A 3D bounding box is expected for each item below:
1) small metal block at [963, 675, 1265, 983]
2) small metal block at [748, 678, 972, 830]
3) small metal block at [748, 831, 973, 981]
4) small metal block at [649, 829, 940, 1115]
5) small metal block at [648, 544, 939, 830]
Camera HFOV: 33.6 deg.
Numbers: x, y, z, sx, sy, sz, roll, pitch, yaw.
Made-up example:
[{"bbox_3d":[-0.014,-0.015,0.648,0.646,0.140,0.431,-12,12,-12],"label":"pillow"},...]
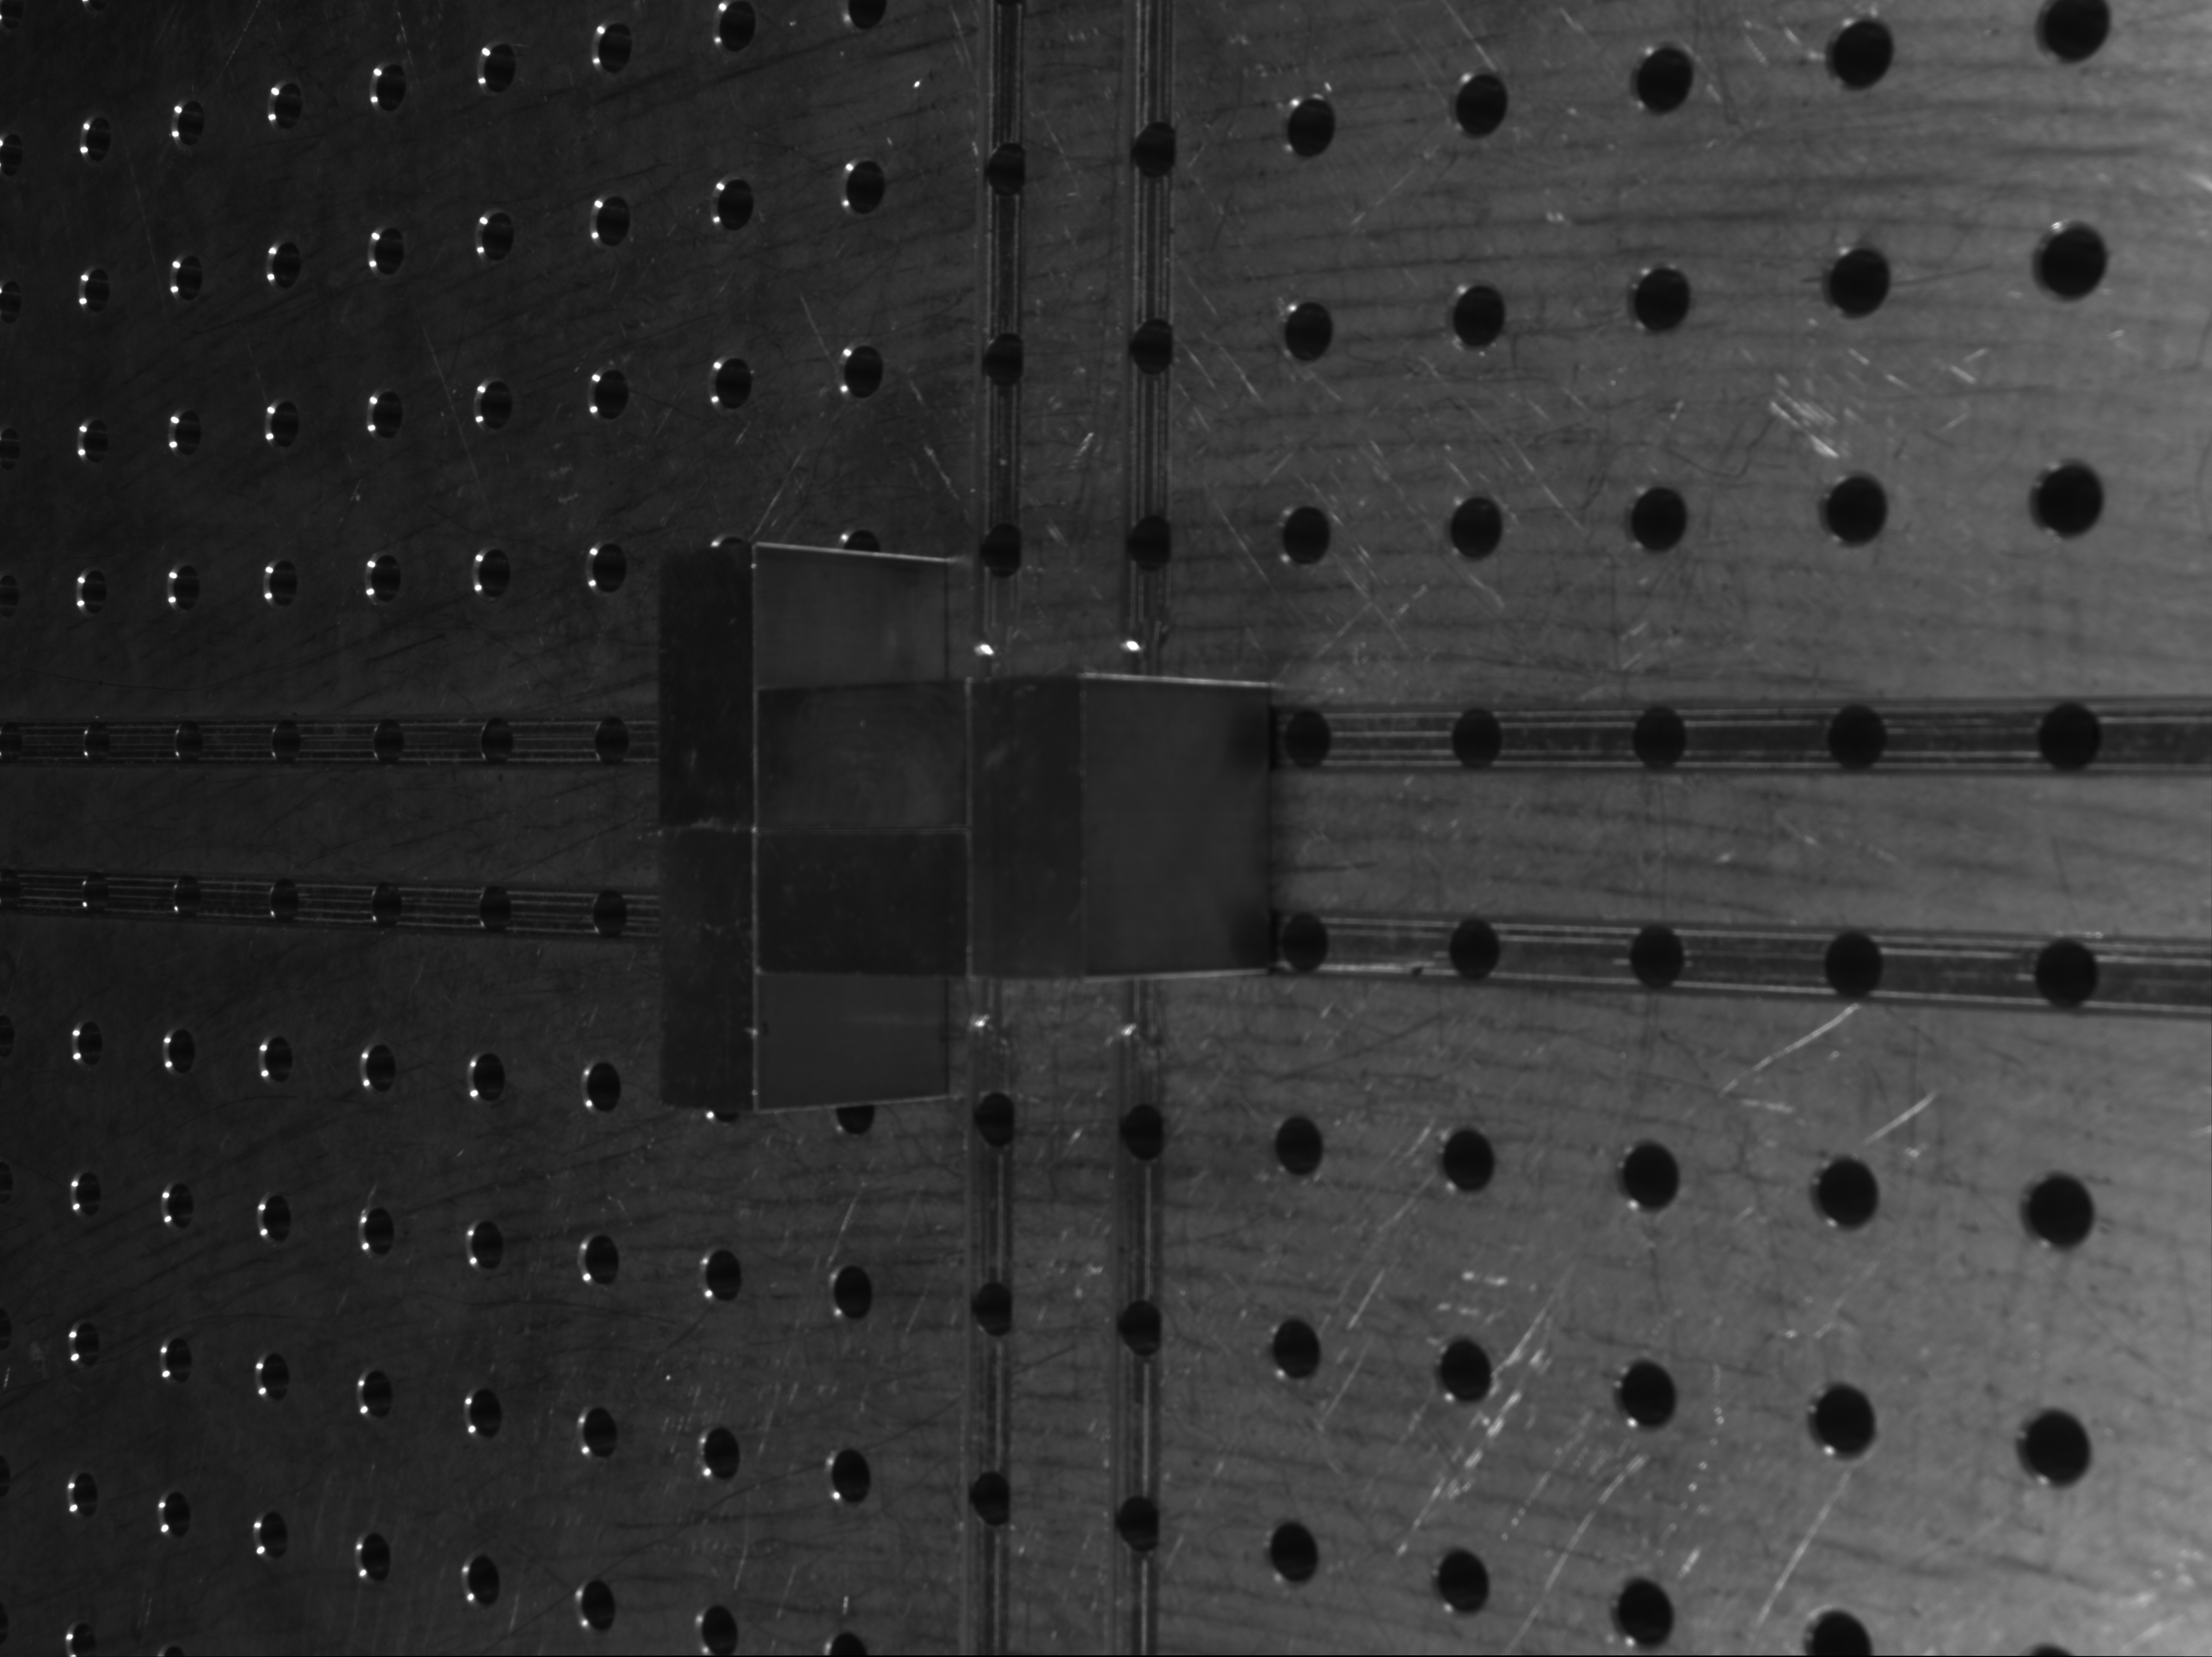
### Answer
[{"bbox_3d":[0.002,0.000,0.621,0.025,0.050,0.050,0,90,39],"label":"small metal block"},{"bbox_3d":[-0.028,-0.012,0.645,0.050,0.050,0.025,0,90,39],"label":"small metal block"},{"bbox_3d":[-0.027,0.013,0.645,0.050,0.050,0.025,0,90,39],"label":"small metal block"},{"bbox_3d":[-0.056,0.025,0.668,0.025,0.050,0.050,0,90,39],"label":"small metal block"},{"bbox_3d":[-0.057,-0.025,0.669,0.025,0.050,0.050,0,90,39],"label":"small metal block"}]
